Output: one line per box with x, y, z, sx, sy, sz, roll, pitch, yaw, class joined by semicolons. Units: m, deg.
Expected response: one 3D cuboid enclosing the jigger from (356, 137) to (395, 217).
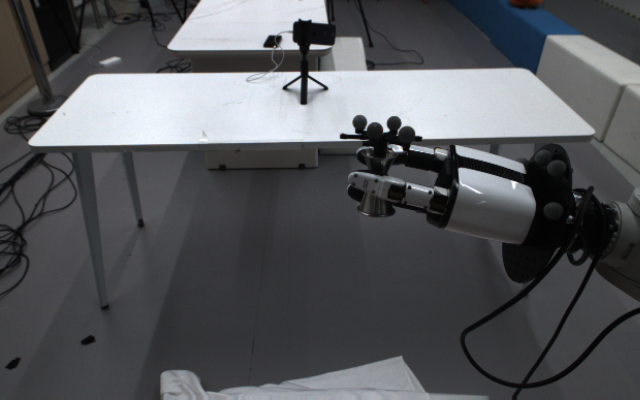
0.065;-0.021;0.549;0.043;0.071;0.043;1;20;0;jigger
